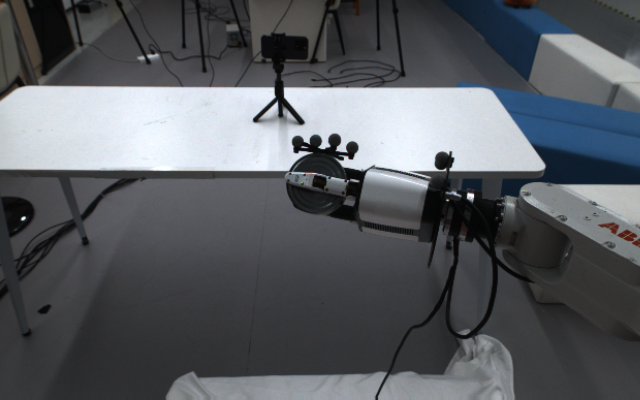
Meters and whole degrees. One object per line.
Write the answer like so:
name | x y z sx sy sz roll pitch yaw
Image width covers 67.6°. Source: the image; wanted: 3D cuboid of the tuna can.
tuna can | -0.002 -0.023 0.681 0.085 0.085 0.034 11 -7 13
